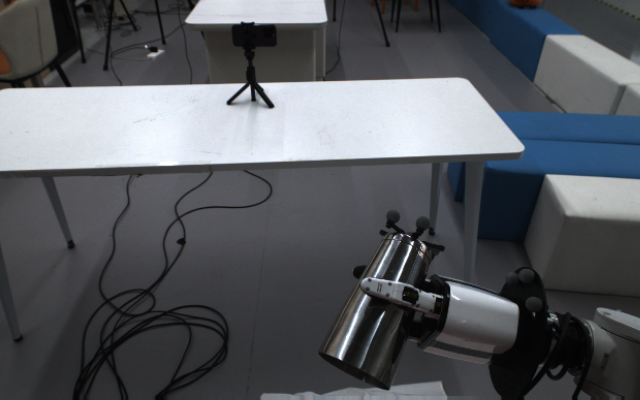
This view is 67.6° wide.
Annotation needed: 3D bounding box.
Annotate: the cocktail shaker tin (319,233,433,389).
[{"bbox_3d":[0.078,0.126,0.586,0.093,0.093,0.170,18,66,21],"label":"cocktail shaker tin"}]
